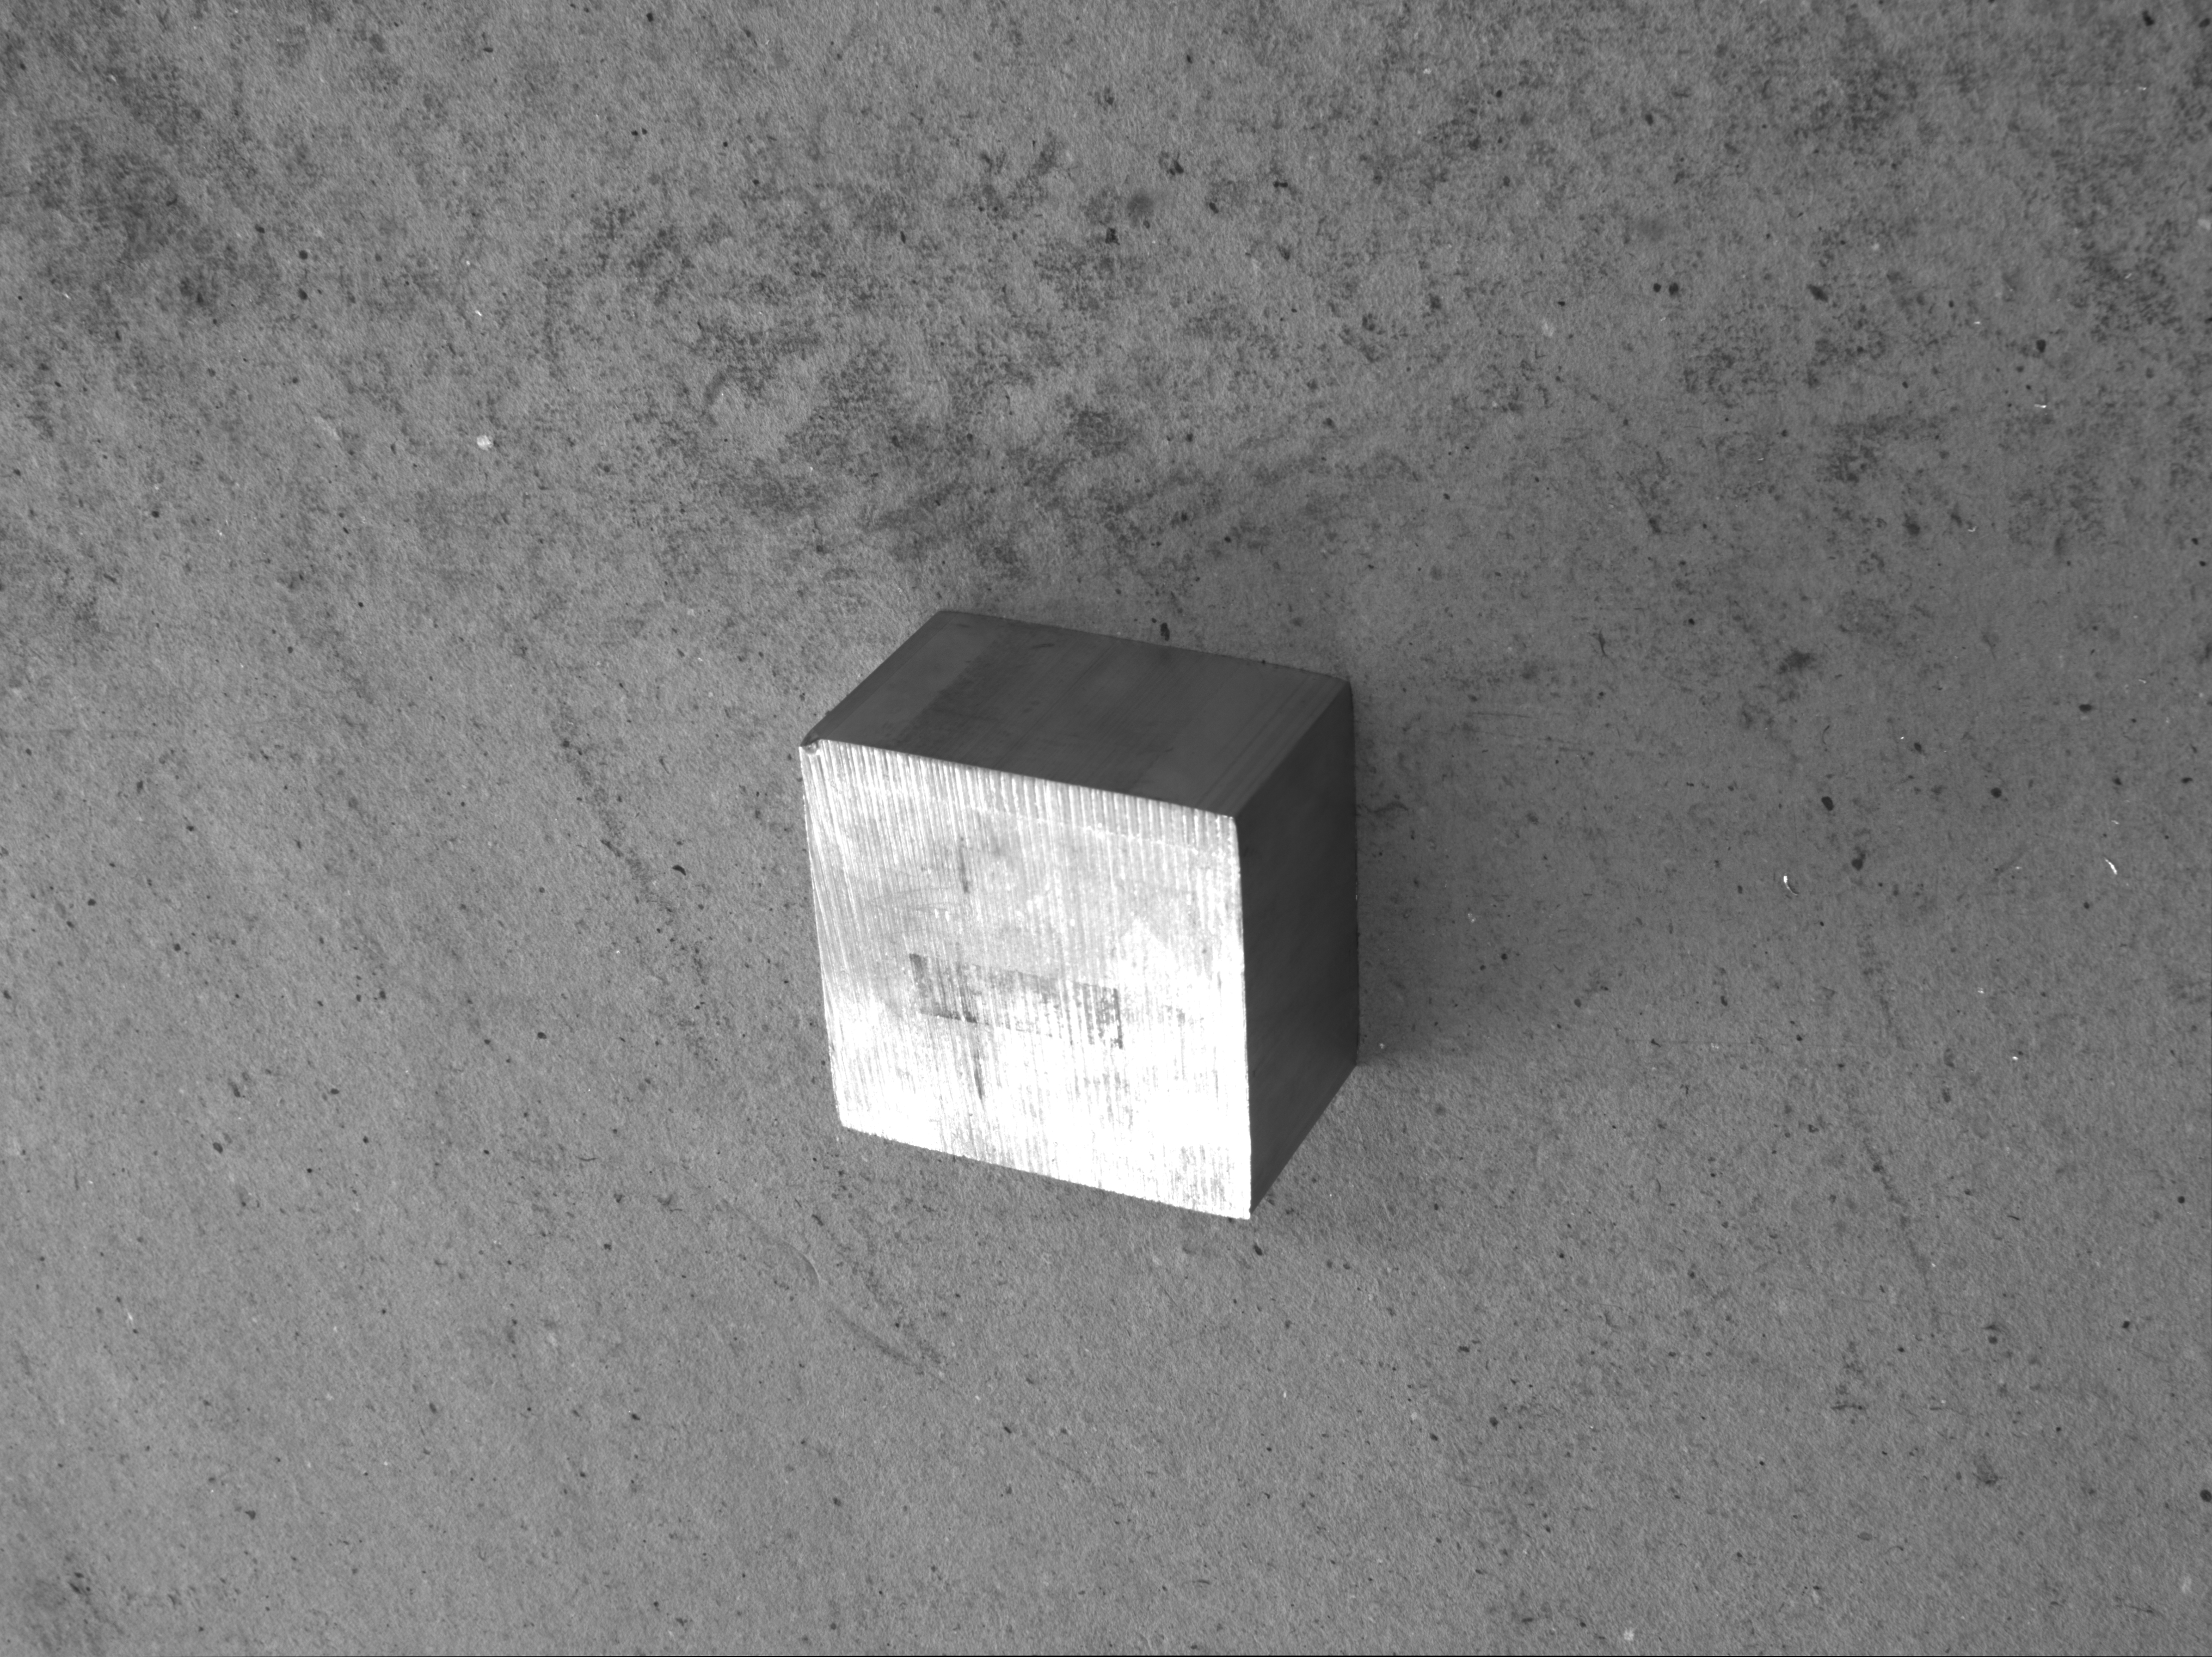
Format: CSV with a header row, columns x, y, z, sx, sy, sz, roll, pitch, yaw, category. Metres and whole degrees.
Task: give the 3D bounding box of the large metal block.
x,y,z,sx,sy,sz,roll,pitch,yaw,category
-0.003,0.014,0.638,0.080,0.050,0.080,10,123,22,large metal block
